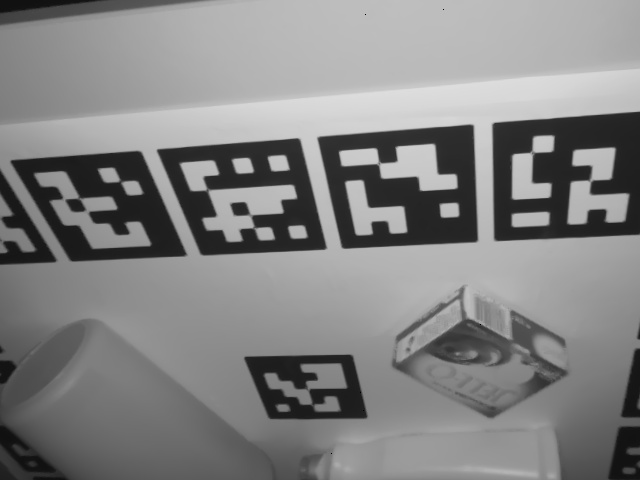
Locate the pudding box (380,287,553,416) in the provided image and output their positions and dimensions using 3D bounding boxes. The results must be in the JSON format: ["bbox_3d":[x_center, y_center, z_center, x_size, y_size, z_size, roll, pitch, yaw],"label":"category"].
[{"bbox_3d":[0.122,0.096,0.580,0.114,0.039,0.088,31,133,-15],"label":"pudding box"}]

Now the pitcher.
[{"bbox_3d":[-0.176,0.192,0.671,0.243,0.135,0.186,51,154,-23],"label":"pitcher"}]

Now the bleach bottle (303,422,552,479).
[{"bbox_3d":[0.102,0.238,0.693,0.249,0.069,0.102,-7,124,16],"label":"bleach bottle"}]
